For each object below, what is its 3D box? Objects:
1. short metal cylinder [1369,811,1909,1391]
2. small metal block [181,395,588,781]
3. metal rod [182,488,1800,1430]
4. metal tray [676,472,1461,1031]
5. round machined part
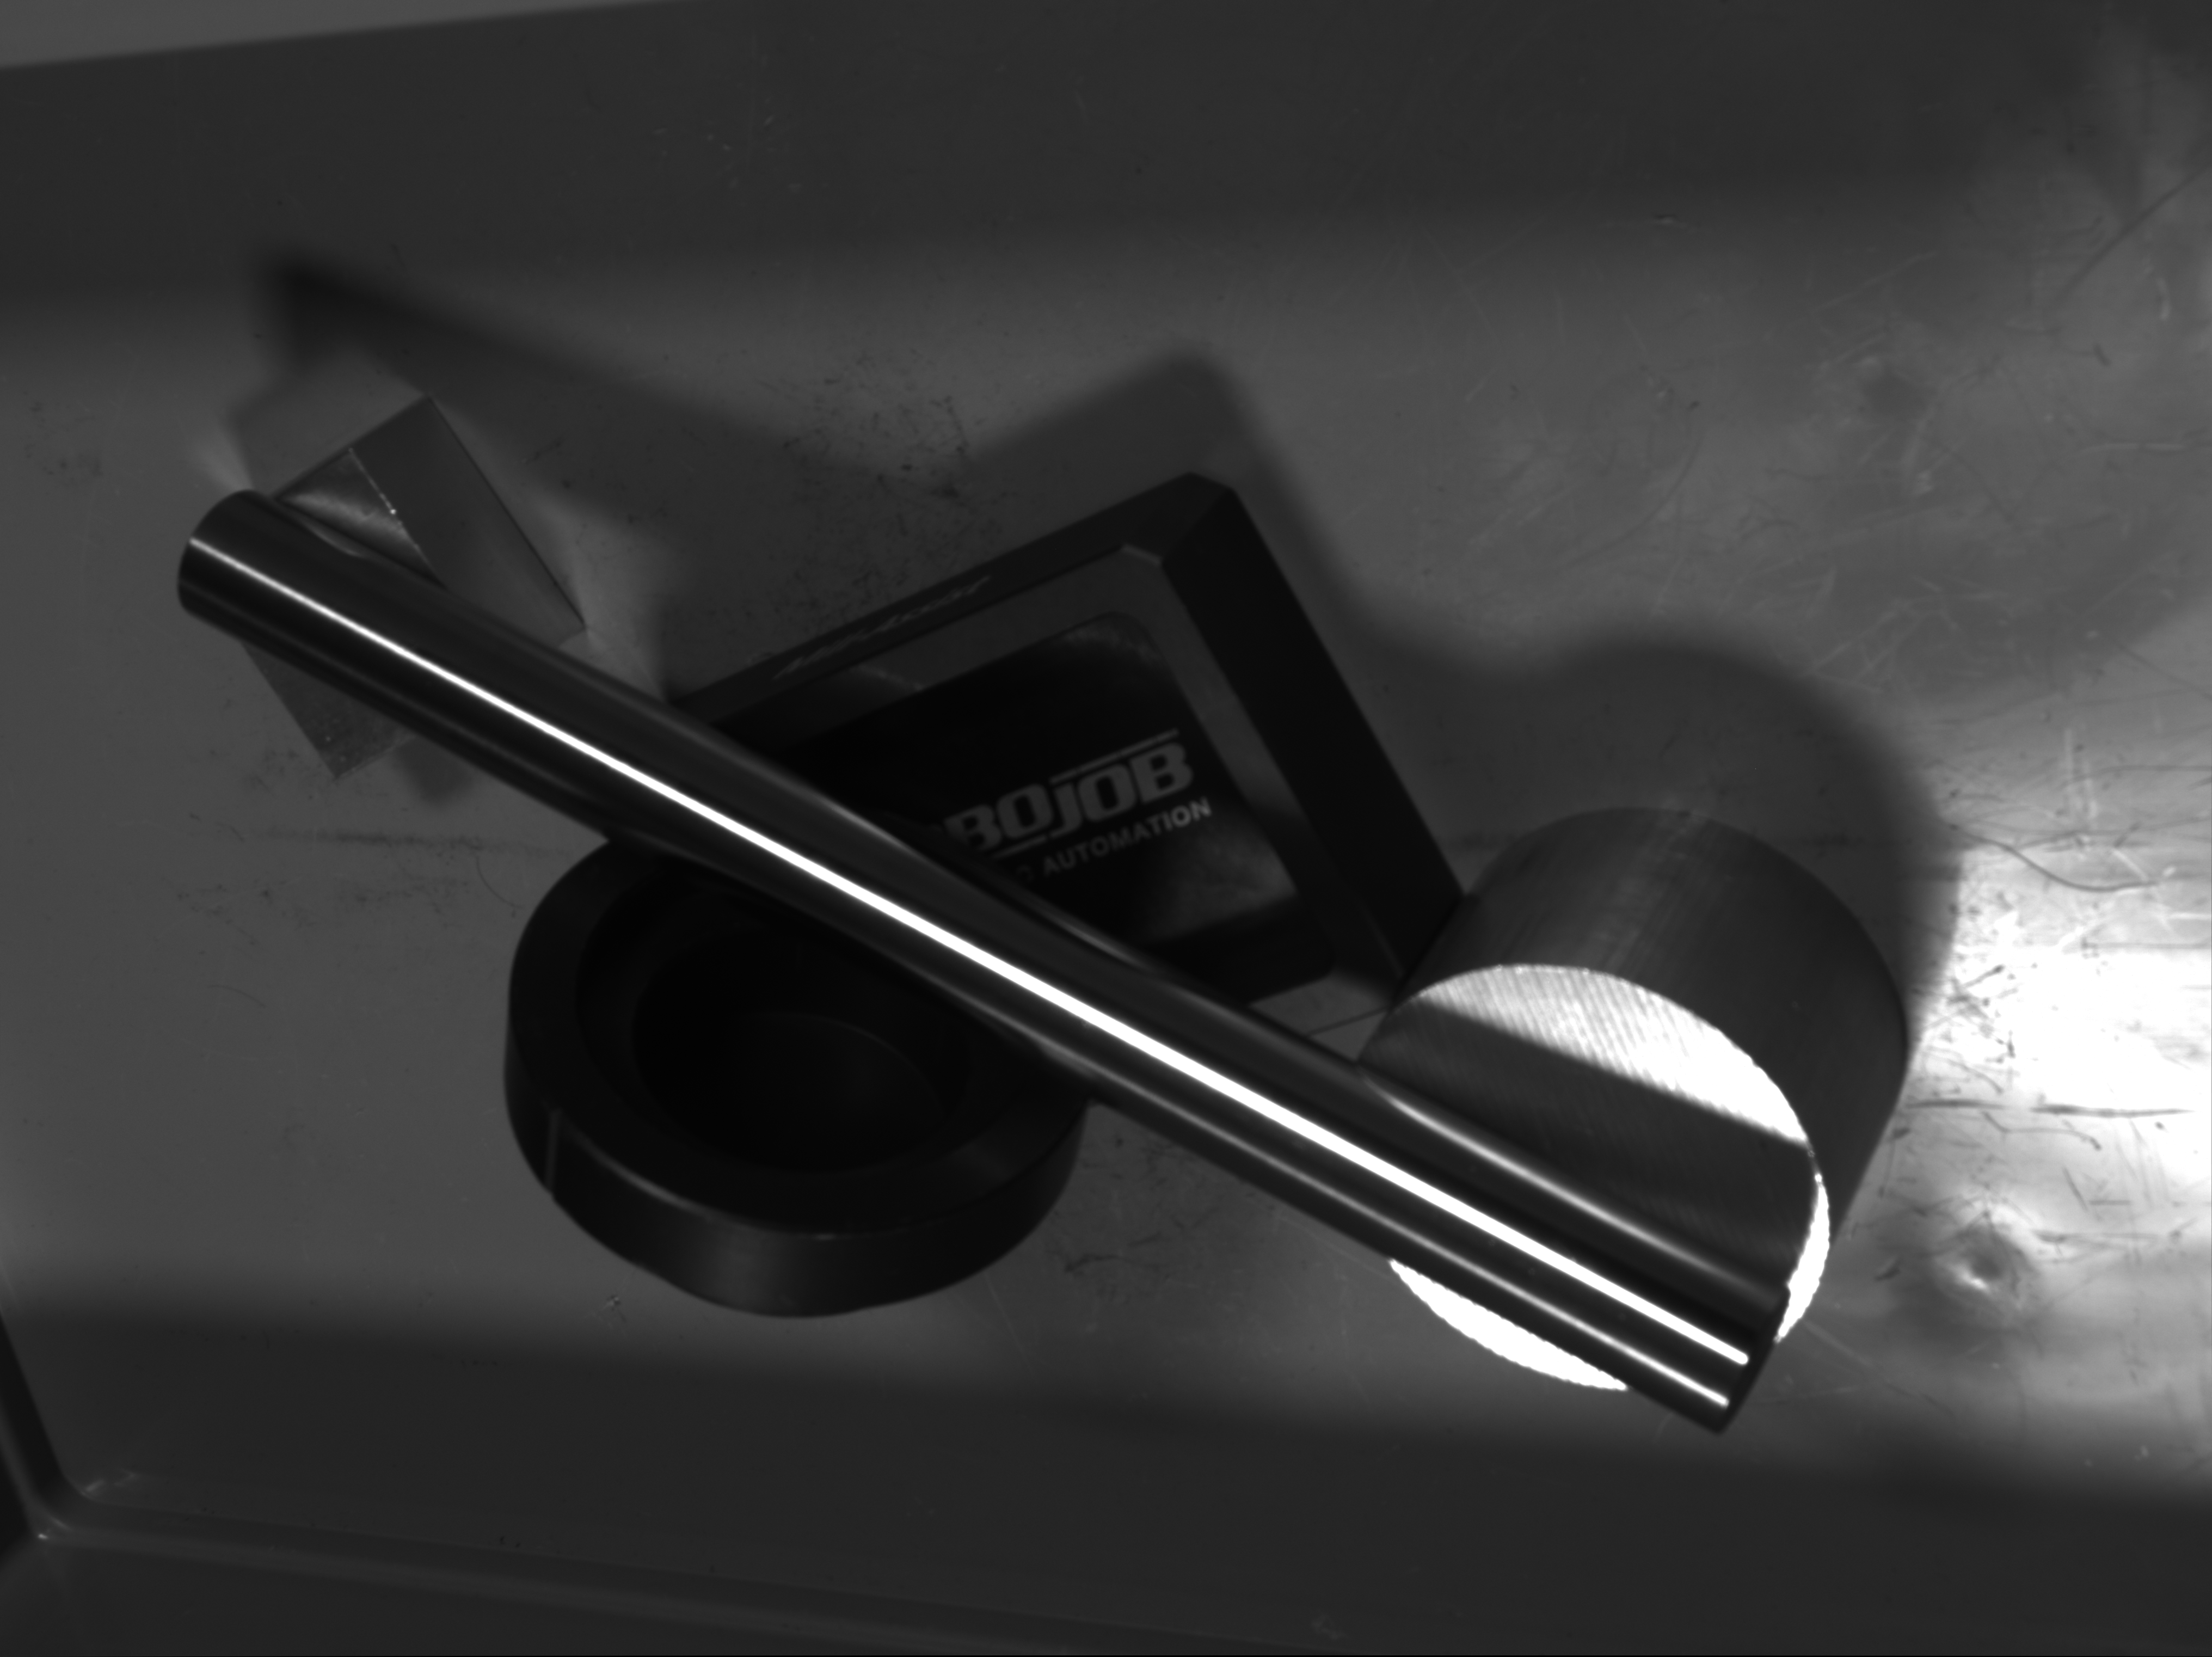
[{"bbox_3d":[0.086,0.044,0.598,0.080,0.050,0.080,12,123,20],"label":"short metal cylinder"},{"bbox_3d":[-0.132,-0.043,0.669,0.050,0.025,0.050,-24,106,35],"label":"small metal block"},{"bbox_3d":[-0.028,0.016,0.601,0.300,0.025,0.025,27,127,18],"label":"metal rod"},{"bbox_3d":[-0.015,0.003,0.635,0.130,0.030,0.090,-21,108,34],"label":"metal tray"},{"bbox_3d":[-0.053,0.044,0.620,0.098,0.098,0.042,25,134,12],"label":"round machined part"}]
